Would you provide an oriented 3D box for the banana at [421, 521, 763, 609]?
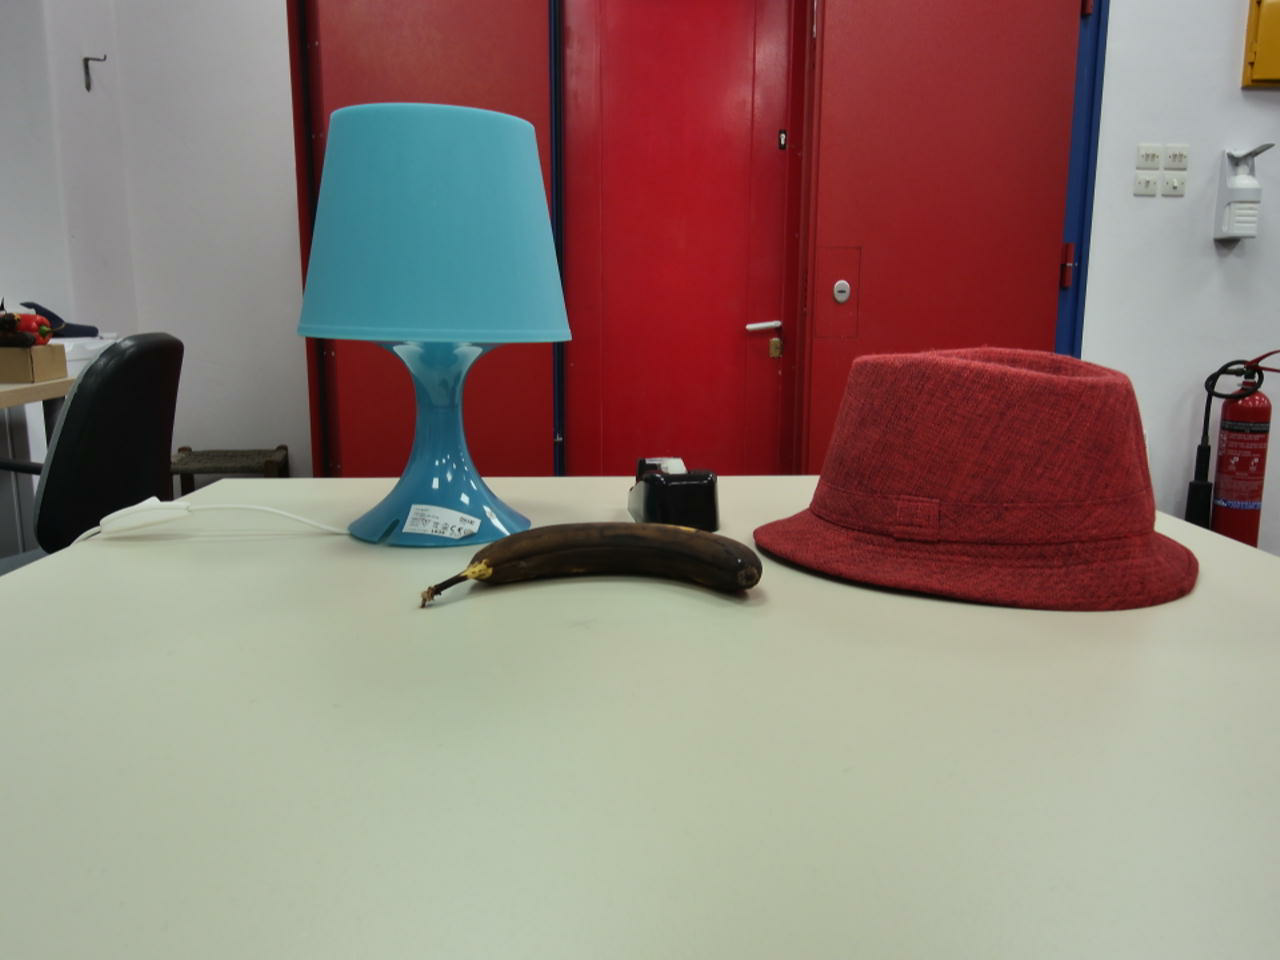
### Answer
[{"bbox_3d":[-0.024,0.045,0.585,0.188,0.033,0.091,0,8,1],"label":"banana"}]
